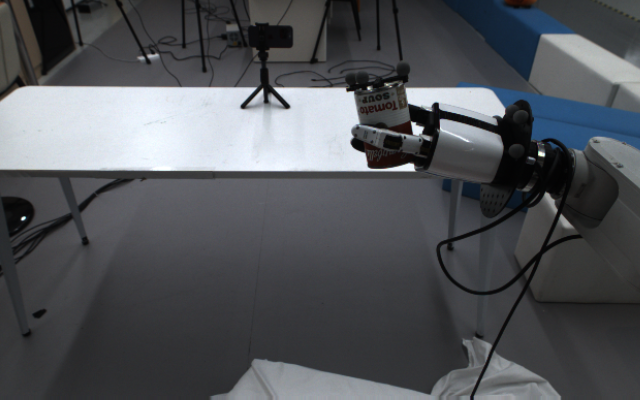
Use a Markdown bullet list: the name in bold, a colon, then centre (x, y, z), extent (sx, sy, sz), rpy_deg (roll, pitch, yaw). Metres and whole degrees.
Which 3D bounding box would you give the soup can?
- **soup can**: centre (0.087, -0.100, 0.639), extent (0.067, 0.101, 0.067), rpy_deg (-12, 17, 4)
